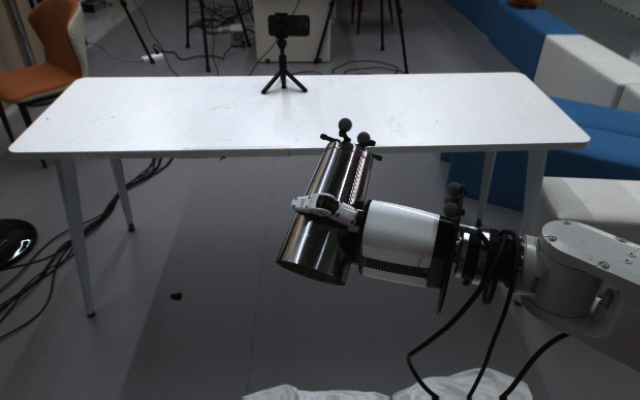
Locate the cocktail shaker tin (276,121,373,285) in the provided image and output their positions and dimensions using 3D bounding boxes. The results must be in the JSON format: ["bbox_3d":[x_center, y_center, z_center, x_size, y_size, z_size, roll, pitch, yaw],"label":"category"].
[{"bbox_3d":[0.014,0.014,0.622,0.093,0.093,0.170,14,73,17],"label":"cocktail shaker tin"}]
